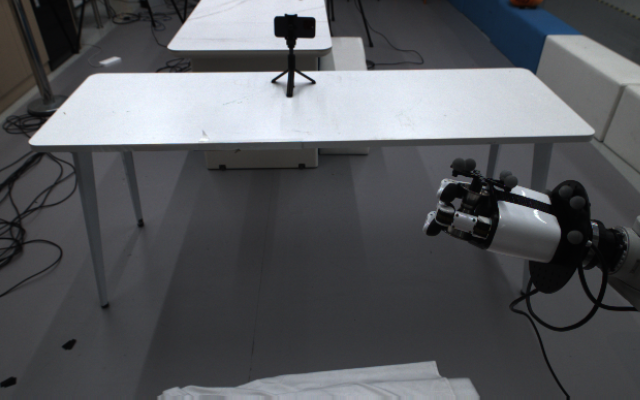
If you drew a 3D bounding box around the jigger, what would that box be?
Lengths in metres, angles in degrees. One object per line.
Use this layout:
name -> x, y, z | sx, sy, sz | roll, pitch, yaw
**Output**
jigger -> 0.203, 0.016, 0.670 | 0.043, 0.071, 0.043 | 15, 17, -5
